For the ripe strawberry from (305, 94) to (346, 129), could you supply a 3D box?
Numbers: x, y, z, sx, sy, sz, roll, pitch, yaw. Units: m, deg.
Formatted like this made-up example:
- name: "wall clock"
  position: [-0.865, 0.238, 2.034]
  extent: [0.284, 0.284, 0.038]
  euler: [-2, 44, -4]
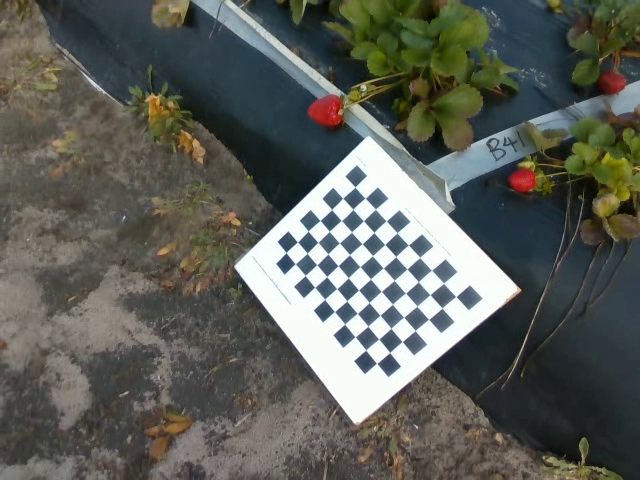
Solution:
- name: "ripe strawberry"
  position: [0.010, -0.174, 0.867]
  extent: [0.052, 0.048, 0.030]
  euler: [-1, -10, -4]

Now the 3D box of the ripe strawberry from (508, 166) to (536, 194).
- name: "ripe strawberry"
  position: [0.248, -0.073, 0.804]
  extent: [0.047, 0.038, 0.031]
  euler: [-11, -24, -37]
